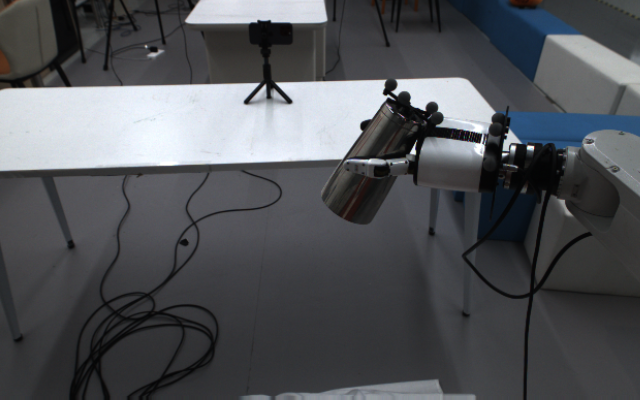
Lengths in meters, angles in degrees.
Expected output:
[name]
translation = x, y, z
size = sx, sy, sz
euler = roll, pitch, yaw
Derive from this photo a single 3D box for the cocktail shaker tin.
[cocktail shaker tin]
translation = 0.081, -0.061, 0.715
size = 0.093, 0.170, 0.093
euler = 25, 29, -15
